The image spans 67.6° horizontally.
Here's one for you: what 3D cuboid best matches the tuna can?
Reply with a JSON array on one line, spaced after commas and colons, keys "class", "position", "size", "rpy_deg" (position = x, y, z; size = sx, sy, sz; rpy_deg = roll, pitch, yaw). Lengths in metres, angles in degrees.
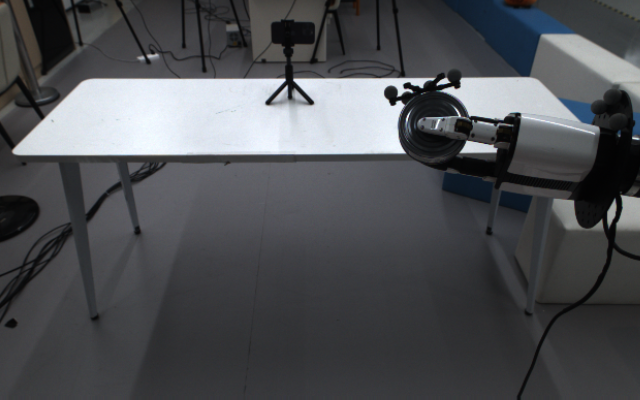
[{"class": "tuna can", "position": [0.141, -0.092, 0.596], "size": [0.085, 0.085, 0.034], "rpy_deg": [12, -6, 14]}]
